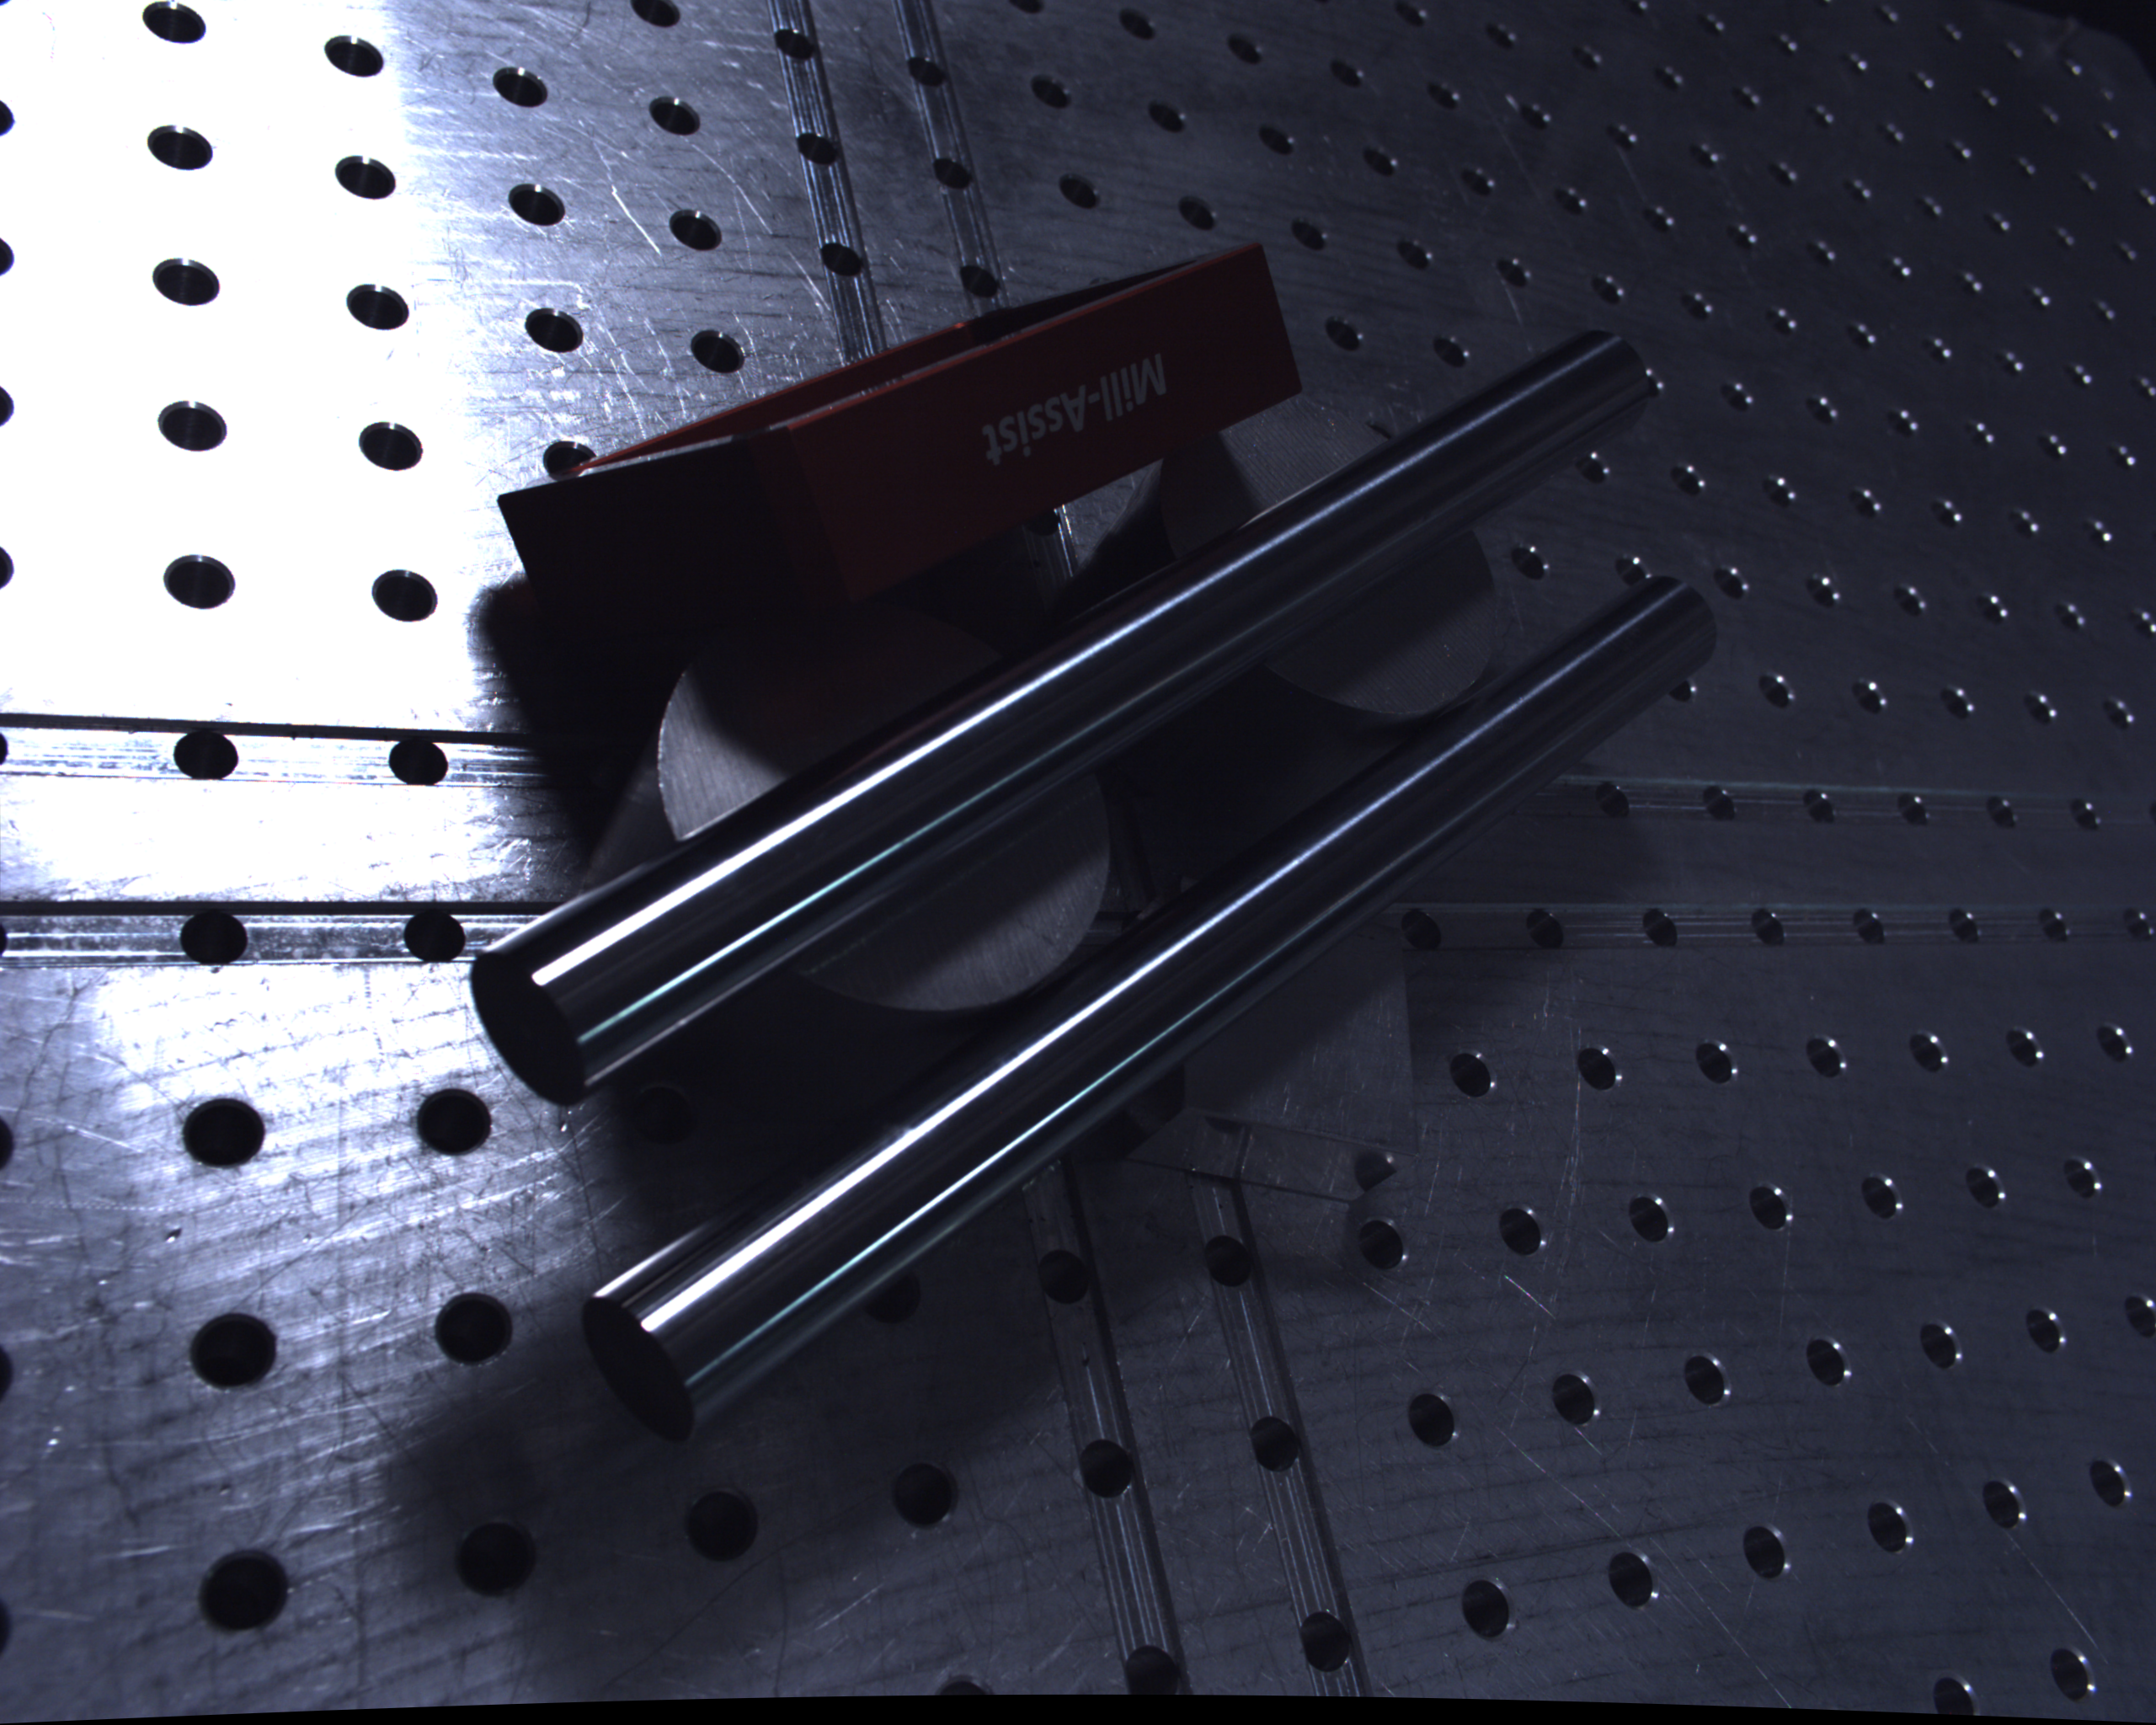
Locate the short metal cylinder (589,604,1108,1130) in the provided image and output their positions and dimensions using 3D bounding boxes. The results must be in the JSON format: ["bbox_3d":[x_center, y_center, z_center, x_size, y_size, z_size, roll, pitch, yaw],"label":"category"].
[{"bbox_3d":[-0.042,0.001,0.370,0.081,0.050,0.080,14,56,-21],"label":"short metal cylinder"}]

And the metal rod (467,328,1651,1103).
[{"bbox_3d":[0.021,-0.044,0.382,0.302,0.025,0.025,-34,81,-38],"label":"metal rod"}]

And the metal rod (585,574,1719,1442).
[{"bbox_3d":[0.038,0.008,0.391,0.302,0.025,0.025,-33,80,-38],"label":"metal rod"}]

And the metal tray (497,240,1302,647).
[{"bbox_3d":[-0.031,-0.081,0.398,0.131,0.090,0.030,-33,112,-38],"label":"metal tray"}]

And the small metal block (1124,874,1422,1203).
[{"bbox_3d":[0.037,0.035,0.407,0.050,0.025,0.050,14,56,-21],"label":"small metal block"}]

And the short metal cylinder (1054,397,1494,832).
[{"bbox_3d":[0.041,-0.053,0.449,0.081,0.050,0.080,14,56,-21],"label":"short metal cylinder"}]
